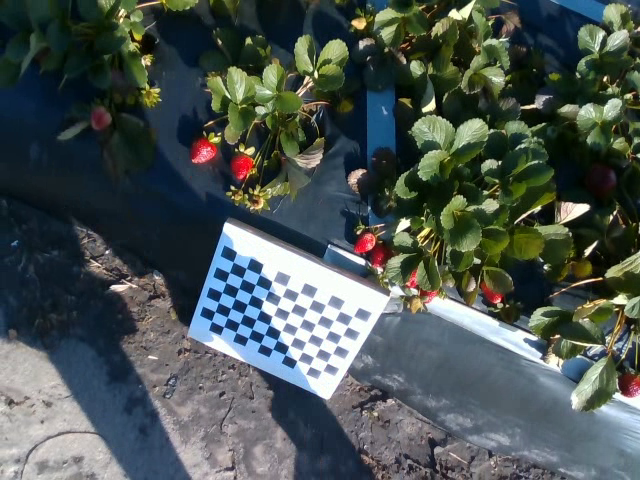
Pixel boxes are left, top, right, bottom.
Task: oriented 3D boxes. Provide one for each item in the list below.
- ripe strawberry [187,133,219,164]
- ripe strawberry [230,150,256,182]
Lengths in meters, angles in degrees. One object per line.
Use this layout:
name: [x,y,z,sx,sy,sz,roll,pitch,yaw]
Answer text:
ripe strawberry: [-0.197,-0.143,1.020,0.050,0.050,0.044,38,-32,-12]
ripe strawberry: [-0.129,-0.117,1.022,0.042,0.049,0.039,-12,-34,26]
